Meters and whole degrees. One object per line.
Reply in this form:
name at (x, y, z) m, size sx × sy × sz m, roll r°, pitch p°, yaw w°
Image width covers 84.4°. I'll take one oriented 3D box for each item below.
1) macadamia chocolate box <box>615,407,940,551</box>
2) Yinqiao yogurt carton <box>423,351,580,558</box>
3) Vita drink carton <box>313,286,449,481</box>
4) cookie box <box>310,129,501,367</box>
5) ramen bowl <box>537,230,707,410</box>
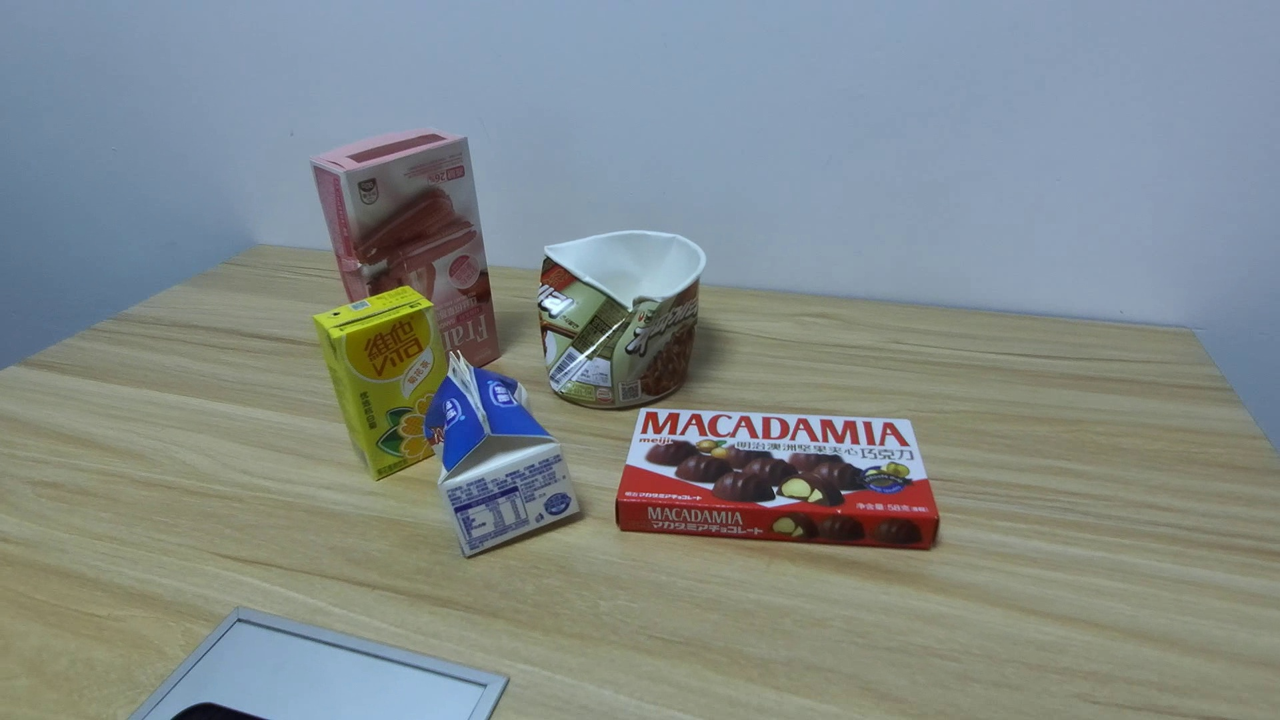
macadamia chocolate box at (0.081, 0.069, 0.433) m, size 0.177 × 0.027 × 0.095 m, roll 2°, pitch 31°, yaw 9°
Yinqiao yogurt carton at (-0.087, 0.049, 0.417) m, size 0.071 × 0.094 × 0.077 m, roll -19°, pitch 31°, yaw -14°
Vita drink carton at (-0.165, 0.014, 0.467) m, size 0.067 × 0.109 × 0.043 m, roll -25°, pitch 38°, yaw -33°
cookie box at (-0.169, -0.067, 0.526) m, size 0.048 × 0.188 × 0.105 m, roll 22°, pitch 39°, yaw 34°
ramen bowl at (-0.010, -0.032, 0.541) m, size 0.137 × 0.098 × 0.137 m, roll 0°, pitch 33°, yaw 0°
